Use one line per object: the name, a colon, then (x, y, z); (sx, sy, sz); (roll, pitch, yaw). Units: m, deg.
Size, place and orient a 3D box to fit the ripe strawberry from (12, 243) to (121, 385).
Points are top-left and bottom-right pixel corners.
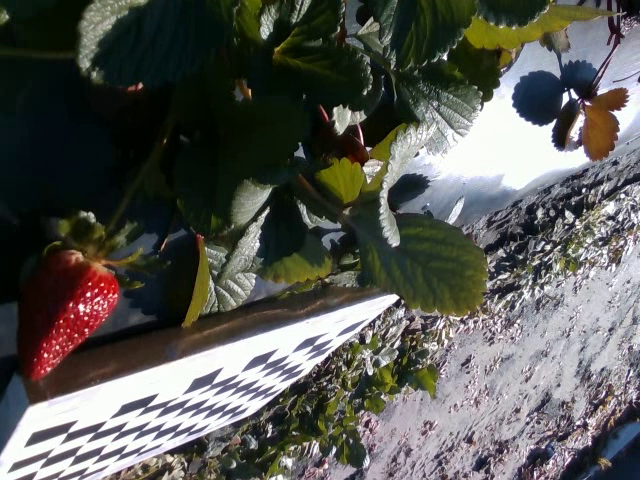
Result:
ripe strawberry: (-0.110, 0.030, 0.262); (0.058, 0.061, 0.065); (-1, -14, 8)
